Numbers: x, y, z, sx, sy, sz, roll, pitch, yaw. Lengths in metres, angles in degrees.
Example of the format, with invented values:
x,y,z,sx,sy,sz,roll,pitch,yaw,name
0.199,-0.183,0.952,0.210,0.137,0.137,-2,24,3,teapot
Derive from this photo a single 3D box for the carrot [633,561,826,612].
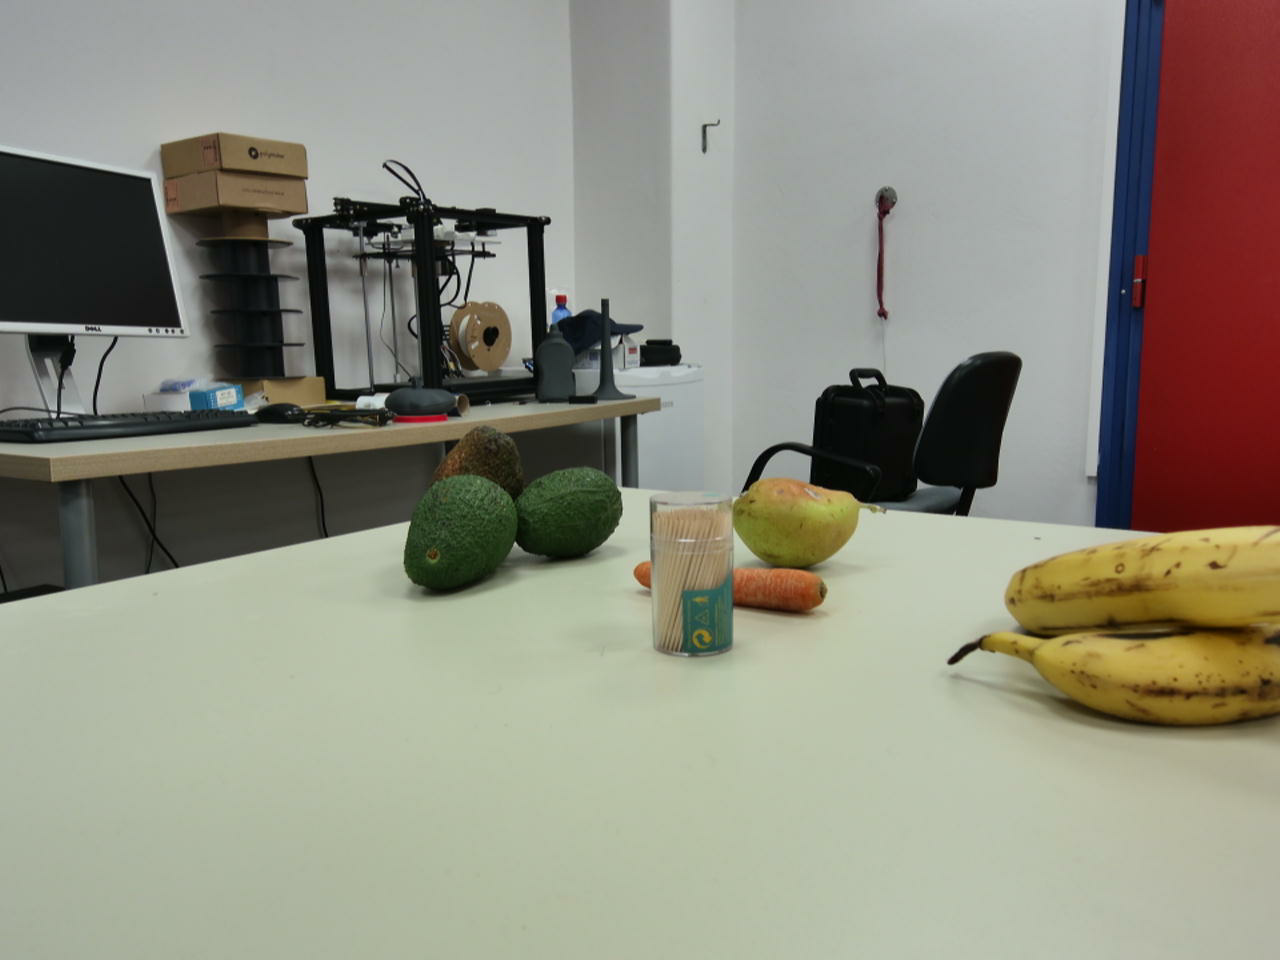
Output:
x,y,z,sx,sy,sz,roll,pitch,yaw,name
0.049,0.059,0.579,0.122,0.023,0.024,5,7,32,carrot
